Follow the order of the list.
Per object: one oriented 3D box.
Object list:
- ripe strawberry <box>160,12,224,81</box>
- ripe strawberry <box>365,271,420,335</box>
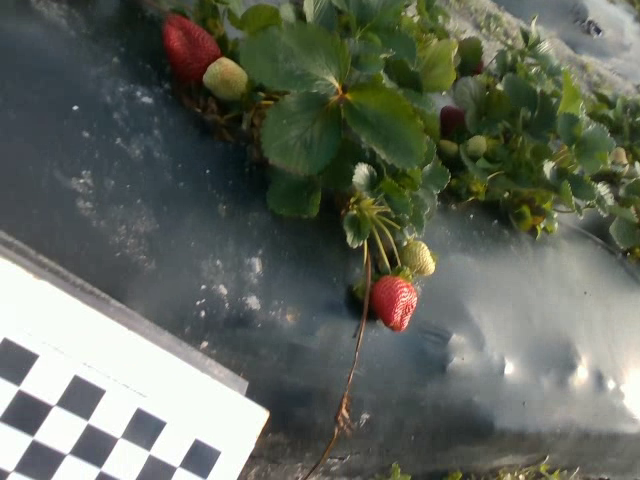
[{"bbox_3d":[-0.119,-0.173,0.564,0.057,0.070,0.058,13,53,39],"label":"ripe strawberry"},{"bbox_3d":[0.070,0.056,0.531,0.048,0.050,0.035,17,-22,-29],"label":"ripe strawberry"}]
